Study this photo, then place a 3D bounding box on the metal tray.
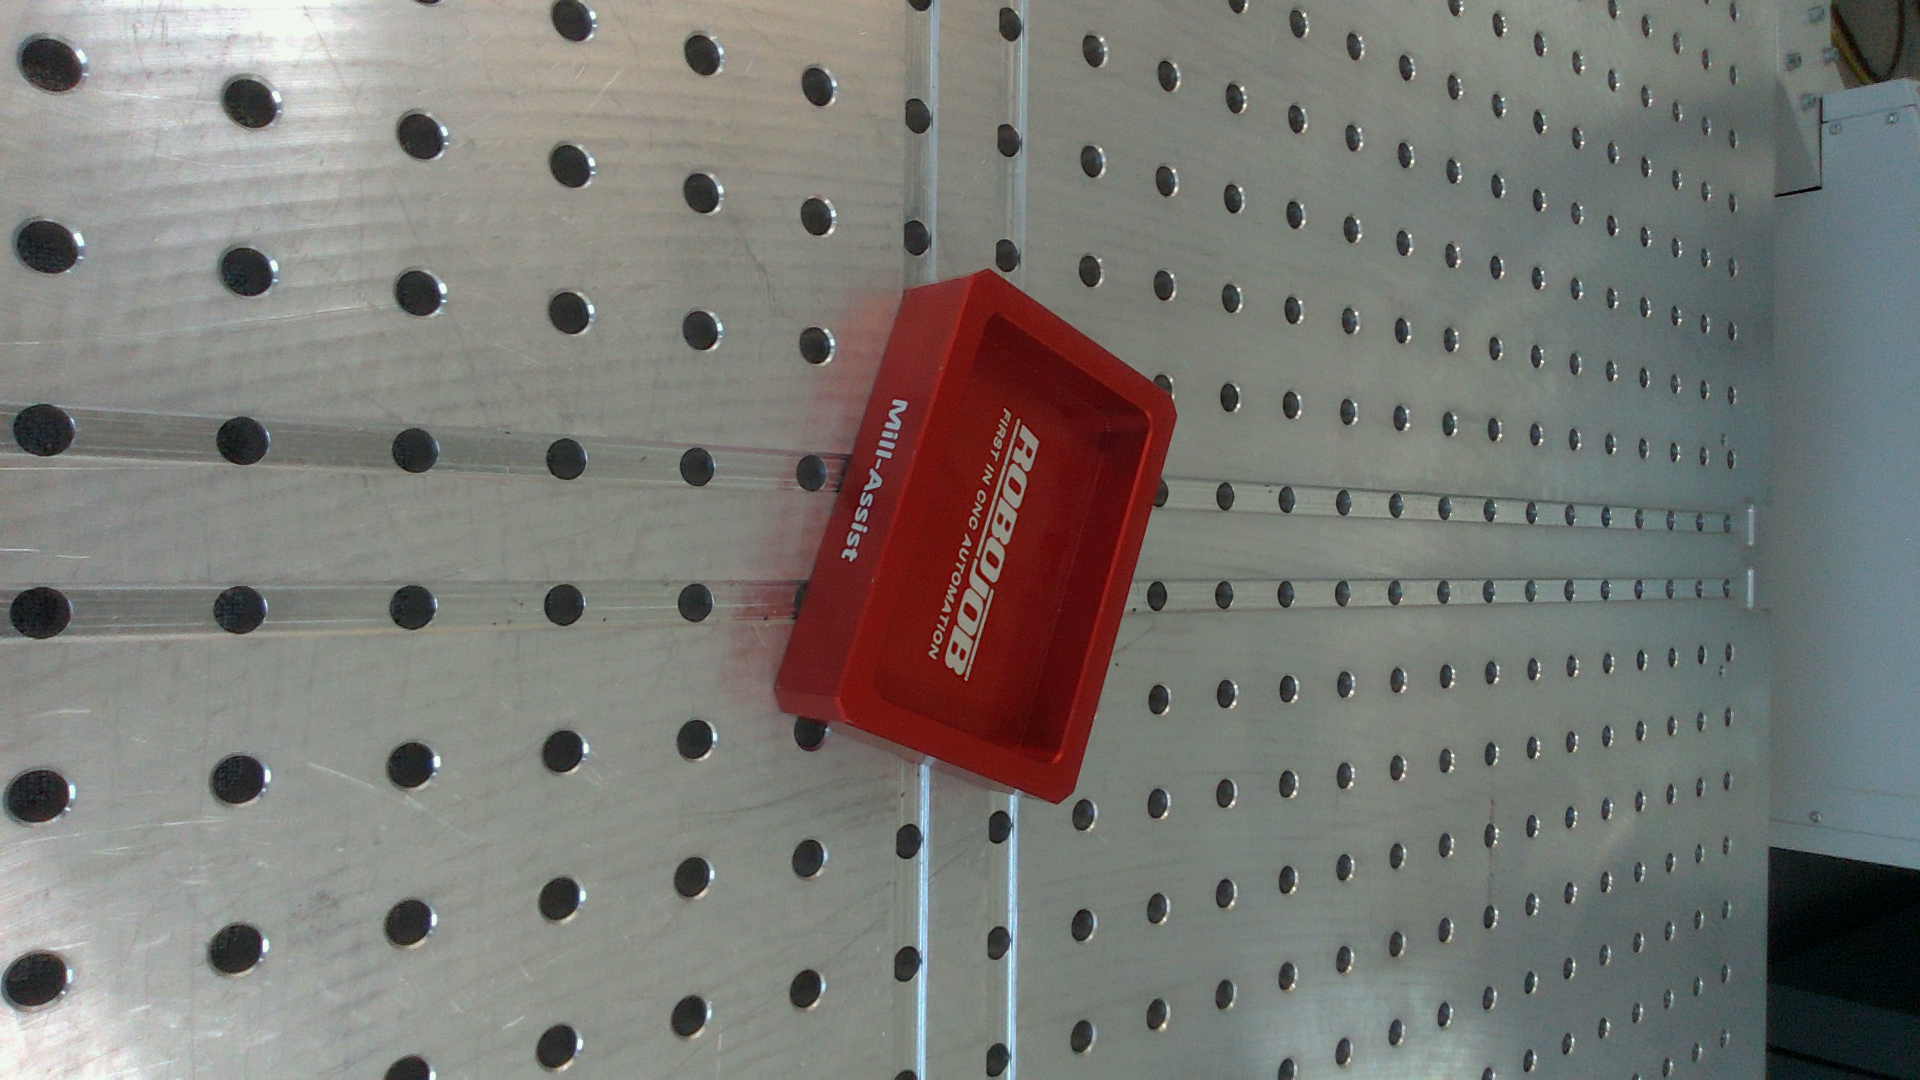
[{"bbox_3d":[0.009,0.001,0.395,0.090,0.030,0.130,28,73,-37],"label":"metal tray"}]
